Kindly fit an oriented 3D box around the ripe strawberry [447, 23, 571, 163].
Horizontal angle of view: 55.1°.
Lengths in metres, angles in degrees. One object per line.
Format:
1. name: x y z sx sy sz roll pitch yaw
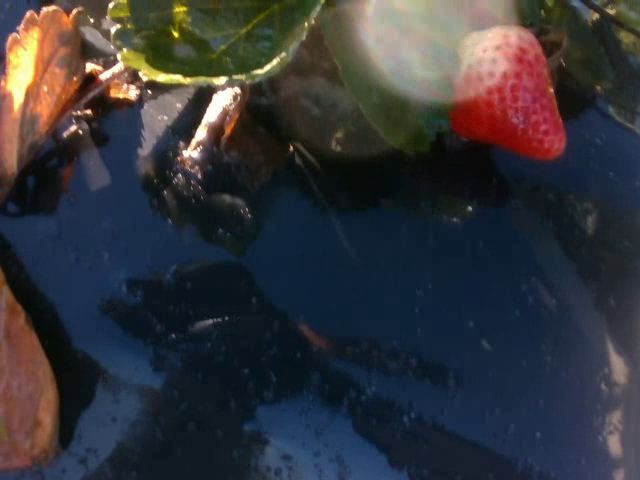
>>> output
1. ripe strawberry: 0.076 -0.054 0.237 0.040 0.065 0.040 -38 0 -16
